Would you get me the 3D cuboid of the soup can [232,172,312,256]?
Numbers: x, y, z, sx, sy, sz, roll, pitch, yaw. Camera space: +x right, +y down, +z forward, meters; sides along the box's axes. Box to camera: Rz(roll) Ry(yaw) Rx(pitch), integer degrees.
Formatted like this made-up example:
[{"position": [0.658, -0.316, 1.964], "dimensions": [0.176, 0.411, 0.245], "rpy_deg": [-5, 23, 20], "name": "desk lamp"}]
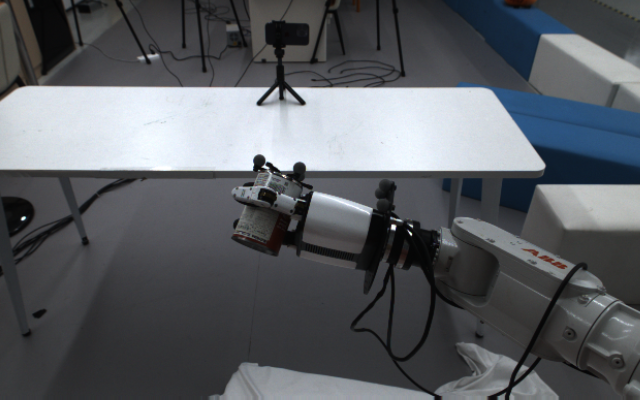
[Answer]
[{"position": [-0.071, 0.019, 0.665], "dimensions": [0.067, 0.067, 0.101], "rpy_deg": [16, 75, 19], "name": "soup can"}]
